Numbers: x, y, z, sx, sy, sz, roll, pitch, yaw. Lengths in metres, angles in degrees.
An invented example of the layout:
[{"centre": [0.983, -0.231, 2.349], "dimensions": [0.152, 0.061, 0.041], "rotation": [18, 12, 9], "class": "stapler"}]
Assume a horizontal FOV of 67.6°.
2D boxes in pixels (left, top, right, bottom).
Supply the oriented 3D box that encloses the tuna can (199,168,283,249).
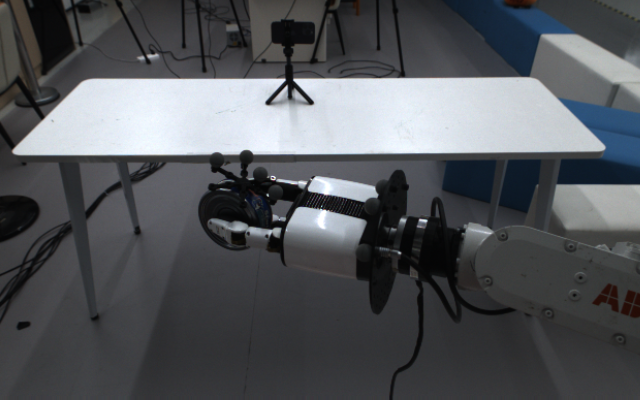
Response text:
[{"centre": [-0.101, 0.018, 0.584], "dimensions": [0.085, 0.085, 0.034], "rotation": [15, 31, 18], "class": "tuna can"}]
